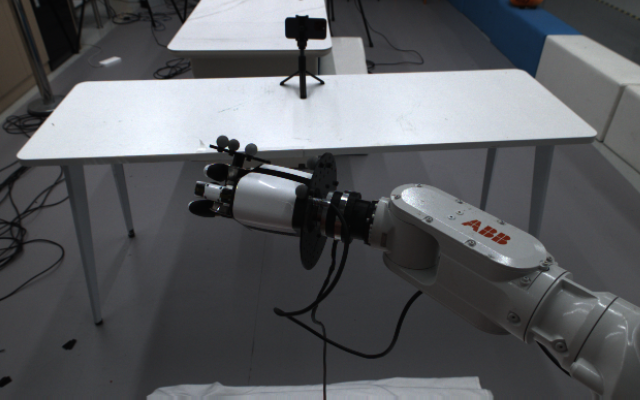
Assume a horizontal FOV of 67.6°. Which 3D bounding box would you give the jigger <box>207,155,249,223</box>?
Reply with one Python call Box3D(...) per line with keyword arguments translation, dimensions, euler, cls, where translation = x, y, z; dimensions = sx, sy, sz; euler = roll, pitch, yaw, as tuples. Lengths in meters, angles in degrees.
Box3D(translation=(-0.124, -0.015, 0.677), dimensions=(0.043, 0.071, 0.043), euler=(17, 2, -1), cls="jigger")
